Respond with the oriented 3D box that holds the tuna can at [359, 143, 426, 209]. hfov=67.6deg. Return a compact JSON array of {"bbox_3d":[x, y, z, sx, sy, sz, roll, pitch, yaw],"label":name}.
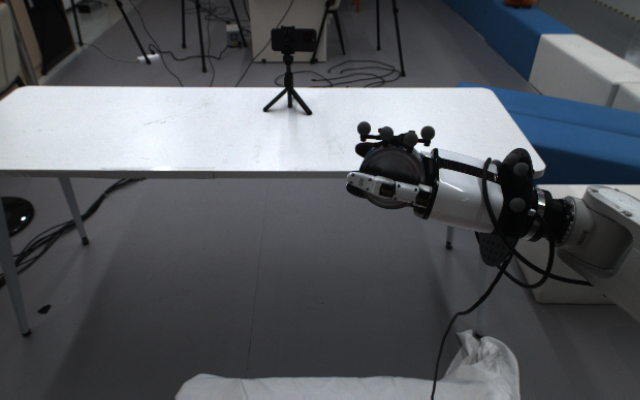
[{"bbox_3d":[0.095,-0.034,0.634,0.085,0.085,0.034,9,24,10],"label":"tuna can"}]
